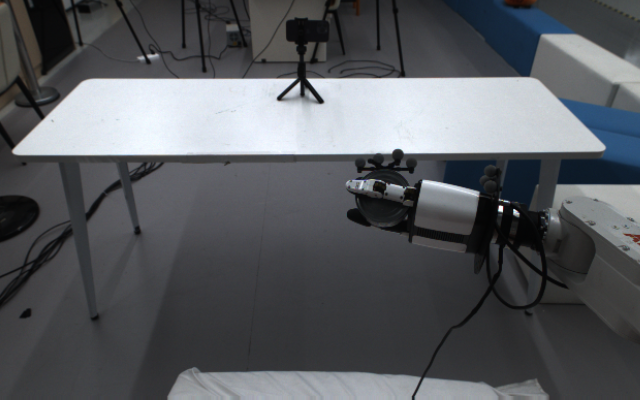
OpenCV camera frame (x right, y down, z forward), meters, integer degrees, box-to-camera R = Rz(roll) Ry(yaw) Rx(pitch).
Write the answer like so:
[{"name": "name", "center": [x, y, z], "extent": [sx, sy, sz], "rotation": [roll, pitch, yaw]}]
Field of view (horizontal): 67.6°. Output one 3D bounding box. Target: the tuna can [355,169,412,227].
[{"name": "tuna can", "center": [0.099, -0.003, 0.743], "extent": [0.085, 0.034, 0.085], "rotation": [-3, 73, 10]}]
